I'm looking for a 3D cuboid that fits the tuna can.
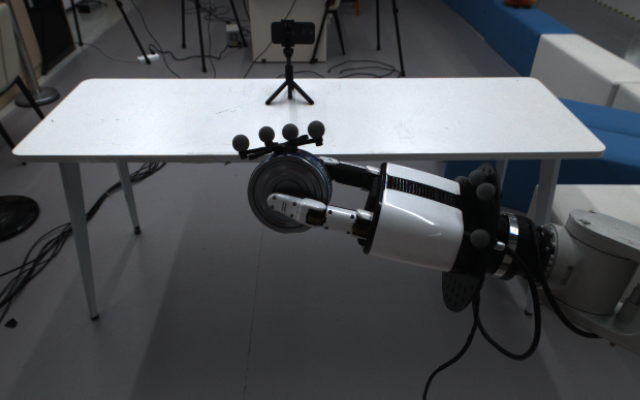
[{"bbox_3d":[-0.027,-0.003,0.504,0.085,0.085,0.034,6,18,5],"label":"tuna can"}]
